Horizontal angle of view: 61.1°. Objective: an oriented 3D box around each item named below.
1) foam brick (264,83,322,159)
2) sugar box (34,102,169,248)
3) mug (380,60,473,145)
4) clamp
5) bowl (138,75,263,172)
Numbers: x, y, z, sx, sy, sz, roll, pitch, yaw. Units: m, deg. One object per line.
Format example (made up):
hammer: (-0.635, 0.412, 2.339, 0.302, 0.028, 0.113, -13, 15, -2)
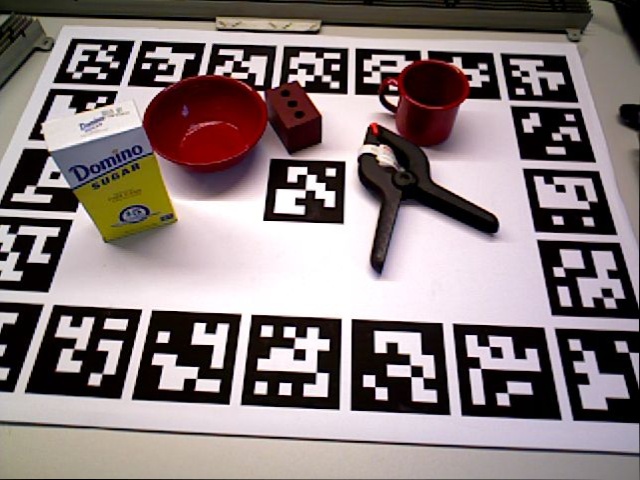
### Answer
foam brick: (-0.037, -0.159, 0.728, 0.052, 0.052, 0.077, -23, 64, -13)
sugar box: (-0.228, -0.064, 0.592, 0.092, 0.180, 0.045, -19, 63, -14)
mug: (0.133, -0.187, 0.718, 0.117, 0.083, 0.091, 26, 62, 10)
clamp: (0.098, -0.068, 0.672, 0.164, 0.037, 0.201, -20, 63, -9)
bowl: (-0.153, -0.143, 0.709, 0.161, 0.056, 0.159, 0, 60, -2)
